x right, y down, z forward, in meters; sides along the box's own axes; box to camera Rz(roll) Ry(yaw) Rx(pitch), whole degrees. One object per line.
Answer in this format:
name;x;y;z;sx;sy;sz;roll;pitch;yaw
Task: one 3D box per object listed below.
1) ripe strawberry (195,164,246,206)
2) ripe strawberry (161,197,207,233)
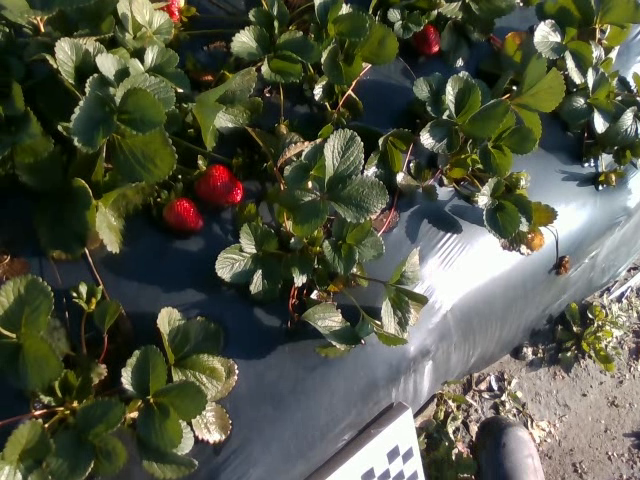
ripe strawberry;-0.108;-0.058;0.672;0.057;0.052;0.046;33;-1;9
ripe strawberry;-0.144;-0.024;0.648;0.051;0.043;0.036;27;5;6
